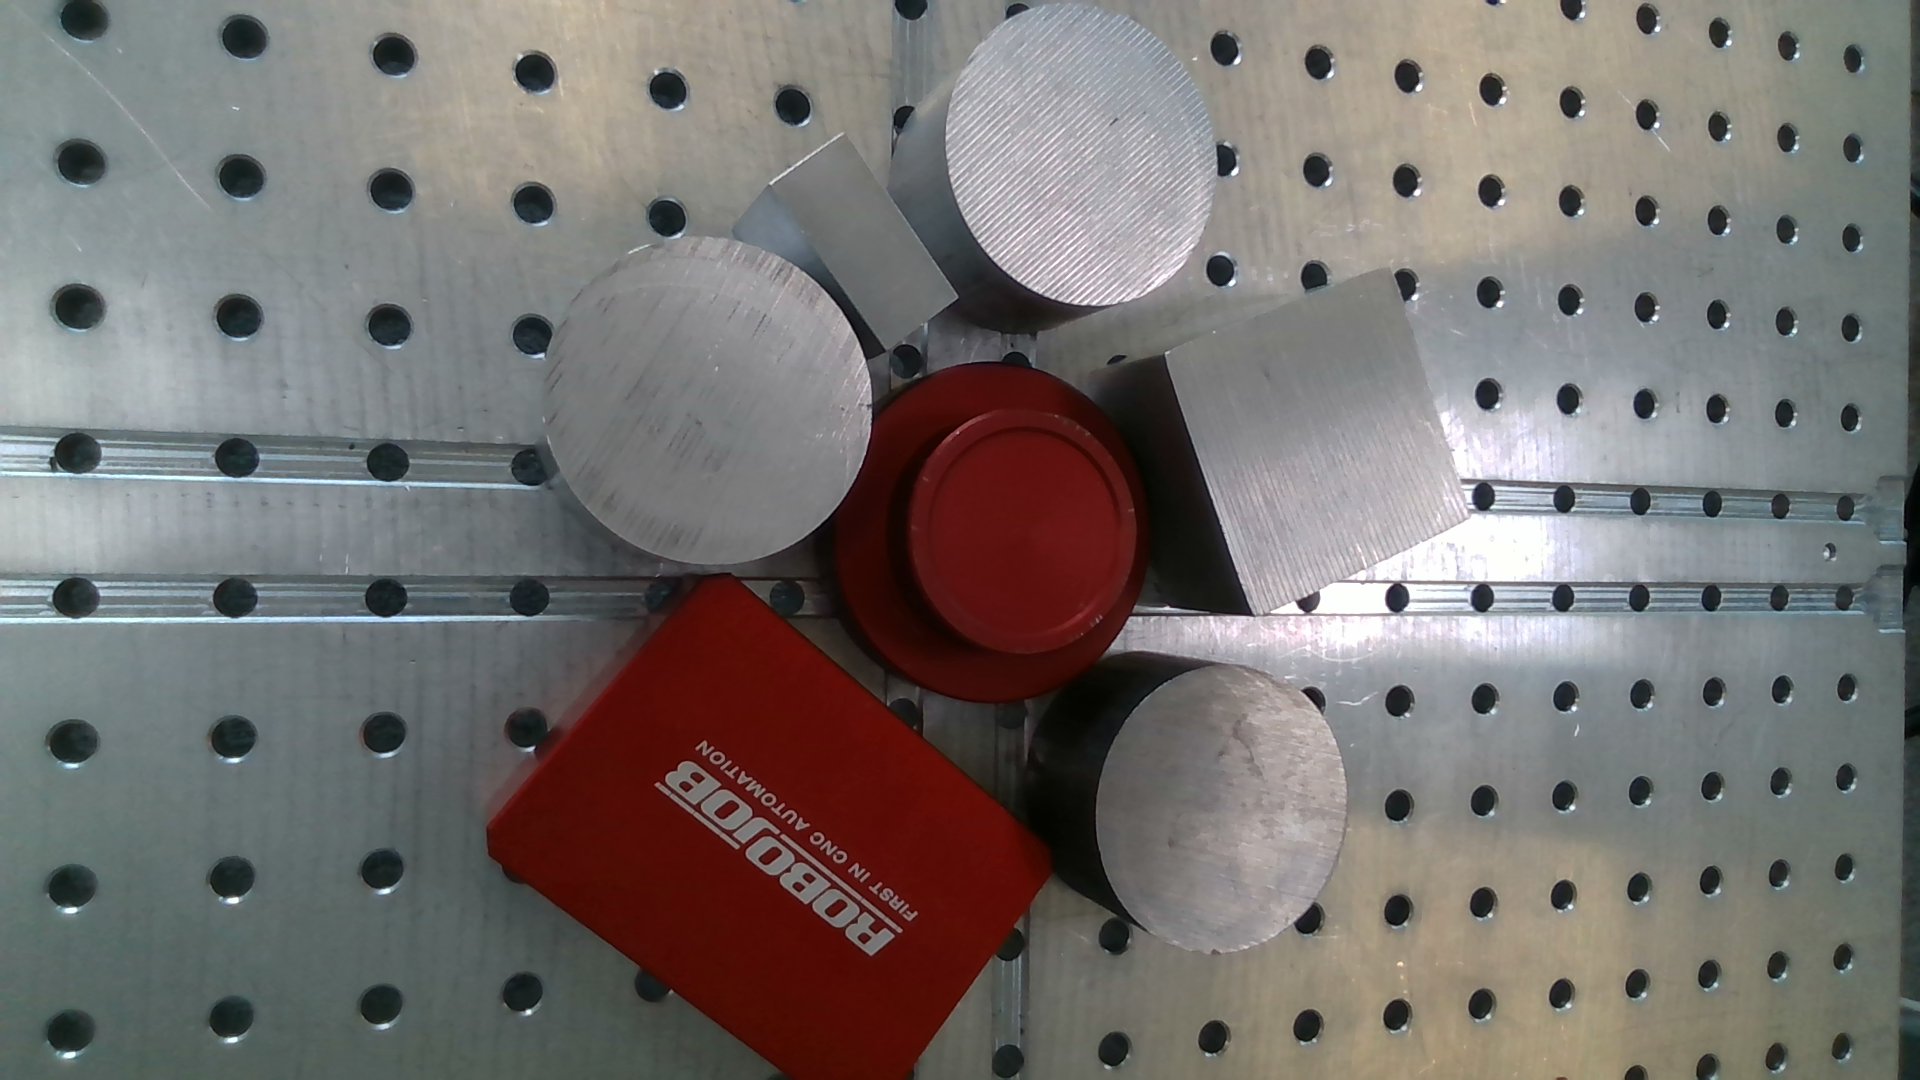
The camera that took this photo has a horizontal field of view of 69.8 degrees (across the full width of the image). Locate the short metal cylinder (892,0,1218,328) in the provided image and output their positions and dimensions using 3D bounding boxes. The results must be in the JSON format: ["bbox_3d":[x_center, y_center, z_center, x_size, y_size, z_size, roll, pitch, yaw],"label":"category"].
[{"bbox_3d":[0.025,-0.104,0.391,0.080,0.050,0.080,0,90,-20],"label":"short metal cylinder"}]

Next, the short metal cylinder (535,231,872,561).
[{"bbox_3d":[-0.069,-0.035,0.357,0.080,0.050,0.080,0,90,-20],"label":"short metal cylinder"}]

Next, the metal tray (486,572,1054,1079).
[{"bbox_3d":[-0.049,0.082,0.375,0.130,0.030,0.090,42,76,-16],"label":"metal tray"}]

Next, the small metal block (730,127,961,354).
[{"bbox_3d":[-0.032,-0.076,0.370,0.025,0.050,0.050,-39,103,-16],"label":"small metal block"}]

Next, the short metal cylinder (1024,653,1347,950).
[{"bbox_3d":[0.065,0.074,0.407,0.080,0.050,0.080,0,90,-20],"label":"short metal cylinder"}]

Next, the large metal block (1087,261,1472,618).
[{"bbox_3d":[0.096,-0.030,0.419,0.080,0.050,0.080,-23,98,-19],"label":"large metal block"}]

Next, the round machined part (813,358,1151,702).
[{"bbox_3d":[0.011,-0.003,0.391,0.098,0.042,0.098,0,90,-20],"label":"round machined part"}]
